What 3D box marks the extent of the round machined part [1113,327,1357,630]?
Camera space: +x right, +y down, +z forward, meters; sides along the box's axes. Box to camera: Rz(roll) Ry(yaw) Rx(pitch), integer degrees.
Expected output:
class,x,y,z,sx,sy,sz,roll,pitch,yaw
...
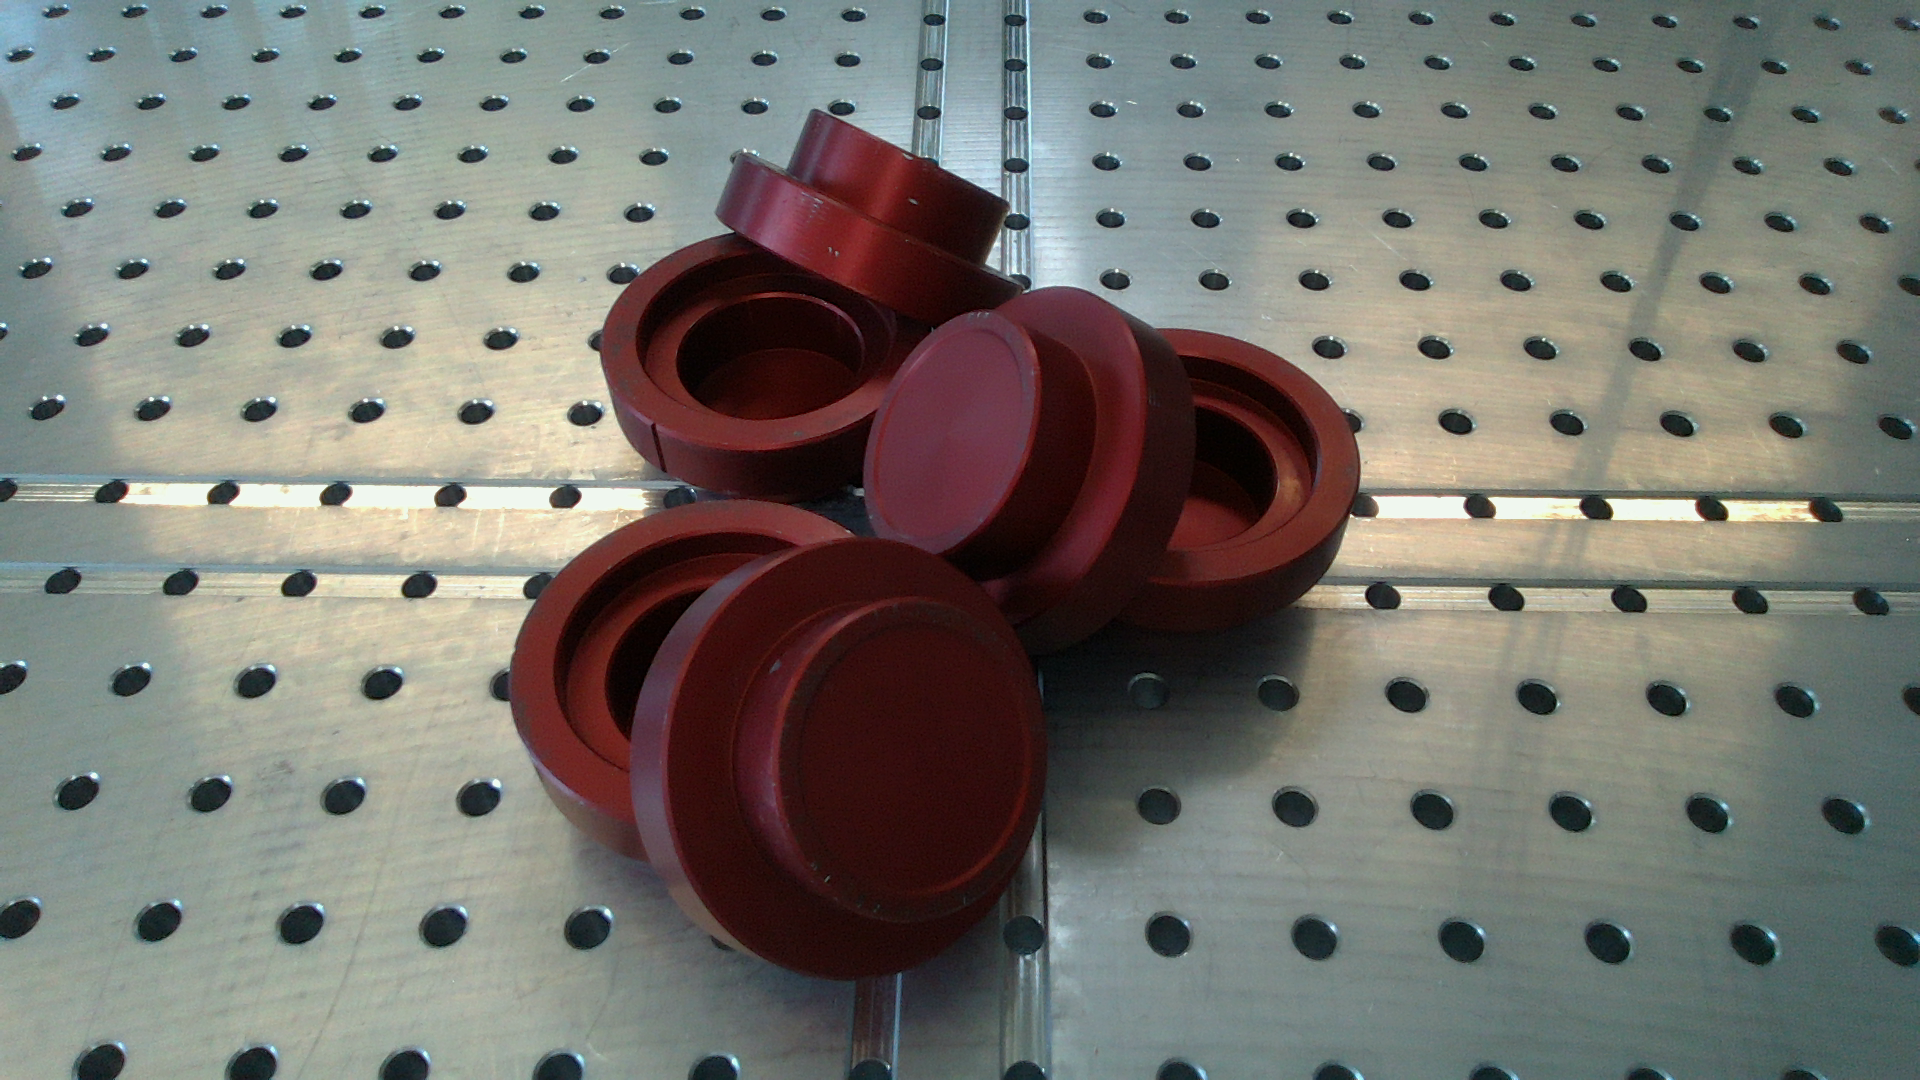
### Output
class,x,y,z,sx,sy,sz,roll,pitch,yaw
round machined part,0.060,-0.013,0.394,0.098,0.042,0.098,0,50,0

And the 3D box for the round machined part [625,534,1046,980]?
class,x,y,z,sx,sy,sz,roll,pitch,yaw
round machined part,-0.020,0.047,0.306,0.098,0.042,0.098,5,81,-33

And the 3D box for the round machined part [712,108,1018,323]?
class,x,y,z,sx,sy,sz,roll,pitch,yaw
round machined part,-0.024,-0.101,0.433,0.098,0.042,0.098,25,11,-5

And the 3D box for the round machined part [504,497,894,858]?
class,x,y,z,sx,sy,sz,roll,pitch,yaw
round machined part,-0.061,0.039,0.350,0.098,0.042,0.098,0,50,0

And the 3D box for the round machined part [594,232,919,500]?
class,x,y,z,sx,sy,sz,roll,pitch,yaw
round machined part,-0.059,-0.050,0.424,0.098,0.042,0.098,0,50,0

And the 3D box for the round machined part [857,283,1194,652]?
class,x,y,z,sx,sy,sz,roll,pitch,yaw
round machined part,0.010,-0.023,0.363,0.042,0.098,0.098,22,37,-39
